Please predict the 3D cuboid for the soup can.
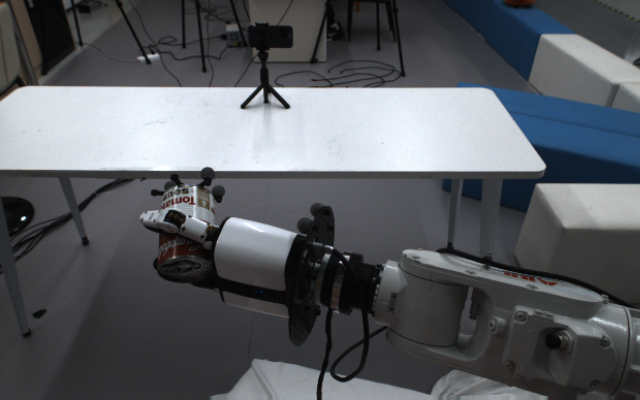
[{"bbox_3d":[-0.159,0.041,0.587,0.067,0.067,0.101,-5,57,-10],"label":"soup can"}]
